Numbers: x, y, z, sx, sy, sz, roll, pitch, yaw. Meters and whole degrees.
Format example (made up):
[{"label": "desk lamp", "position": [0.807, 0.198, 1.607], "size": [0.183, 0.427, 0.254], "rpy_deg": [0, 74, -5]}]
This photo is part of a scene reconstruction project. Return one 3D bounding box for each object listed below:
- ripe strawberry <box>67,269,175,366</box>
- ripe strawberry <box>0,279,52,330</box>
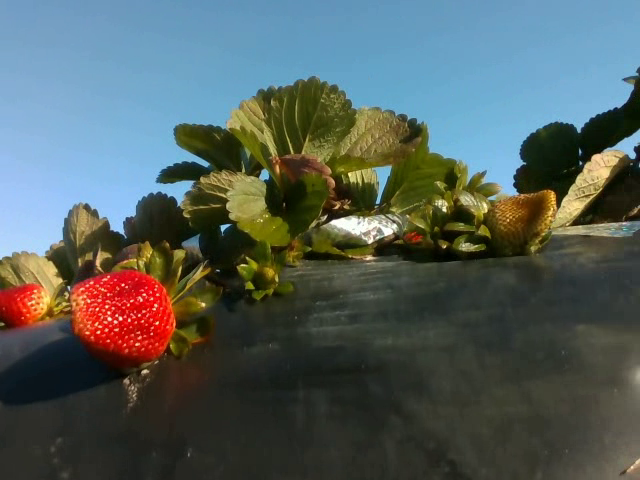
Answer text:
[{"label": "ripe strawberry", "position": [-0.083, 0.033, 0.236], "size": [0.042, 0.042, 0.059], "rpy_deg": [5, 3, 17]}, {"label": "ripe strawberry", "position": [-0.187, 0.039, 0.364], "size": [0.047, 0.035, 0.035], "rpy_deg": [4, 11, -6]}]
